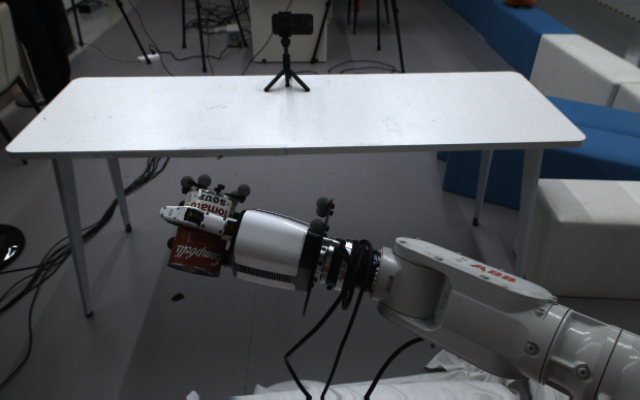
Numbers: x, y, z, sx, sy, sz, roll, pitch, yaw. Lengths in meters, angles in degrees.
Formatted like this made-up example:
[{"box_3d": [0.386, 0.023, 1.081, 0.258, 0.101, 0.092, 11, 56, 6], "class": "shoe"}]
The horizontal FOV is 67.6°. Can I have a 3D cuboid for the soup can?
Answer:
[{"box_3d": [-0.152, 0.044, 0.629, 0.067, 0.067, 0.101, 8, 72, 9], "class": "soup can"}]
